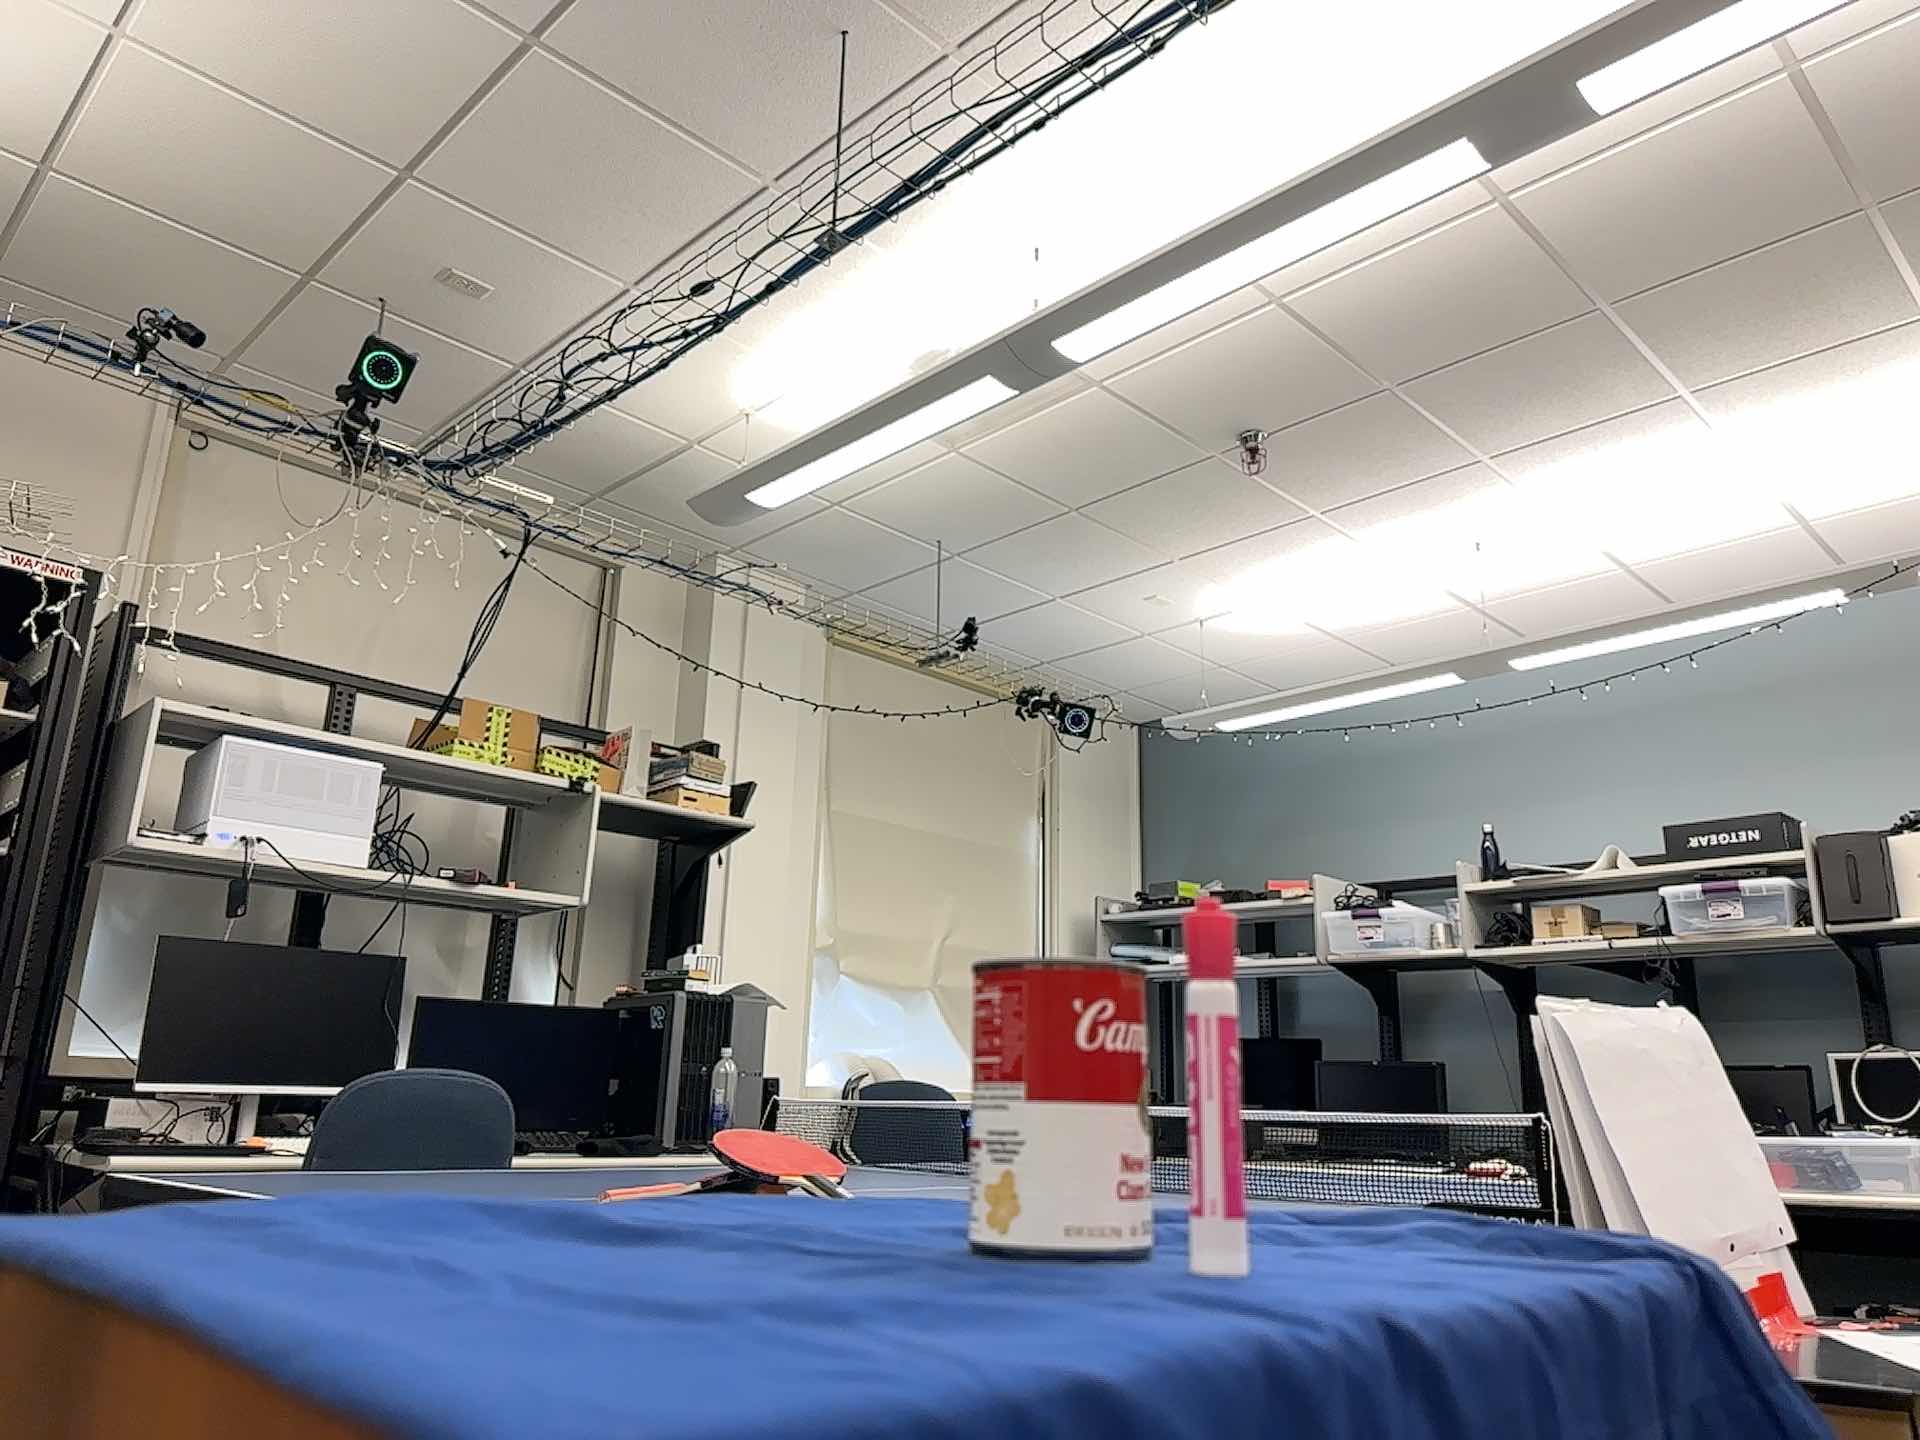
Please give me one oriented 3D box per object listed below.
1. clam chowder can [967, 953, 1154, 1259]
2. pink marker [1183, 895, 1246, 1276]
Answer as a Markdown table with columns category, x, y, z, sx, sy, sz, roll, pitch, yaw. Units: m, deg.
| category | x | y | z | sx | sy | sz | roll | pitch | yaw |
| --- | --- | --- | --- | --- | --- | --- | --- | --- | --- |
| clam chowder can | 0.037 | 0.139 | 0.496 | 0.068 | 0.102 | 0.068 | 2 | -13 | 0 |
| pink marker | 0.084 | 0.119 | 0.448 | 0.020 | 0.121 | 0.020 | 2 | -14 | 0 |
